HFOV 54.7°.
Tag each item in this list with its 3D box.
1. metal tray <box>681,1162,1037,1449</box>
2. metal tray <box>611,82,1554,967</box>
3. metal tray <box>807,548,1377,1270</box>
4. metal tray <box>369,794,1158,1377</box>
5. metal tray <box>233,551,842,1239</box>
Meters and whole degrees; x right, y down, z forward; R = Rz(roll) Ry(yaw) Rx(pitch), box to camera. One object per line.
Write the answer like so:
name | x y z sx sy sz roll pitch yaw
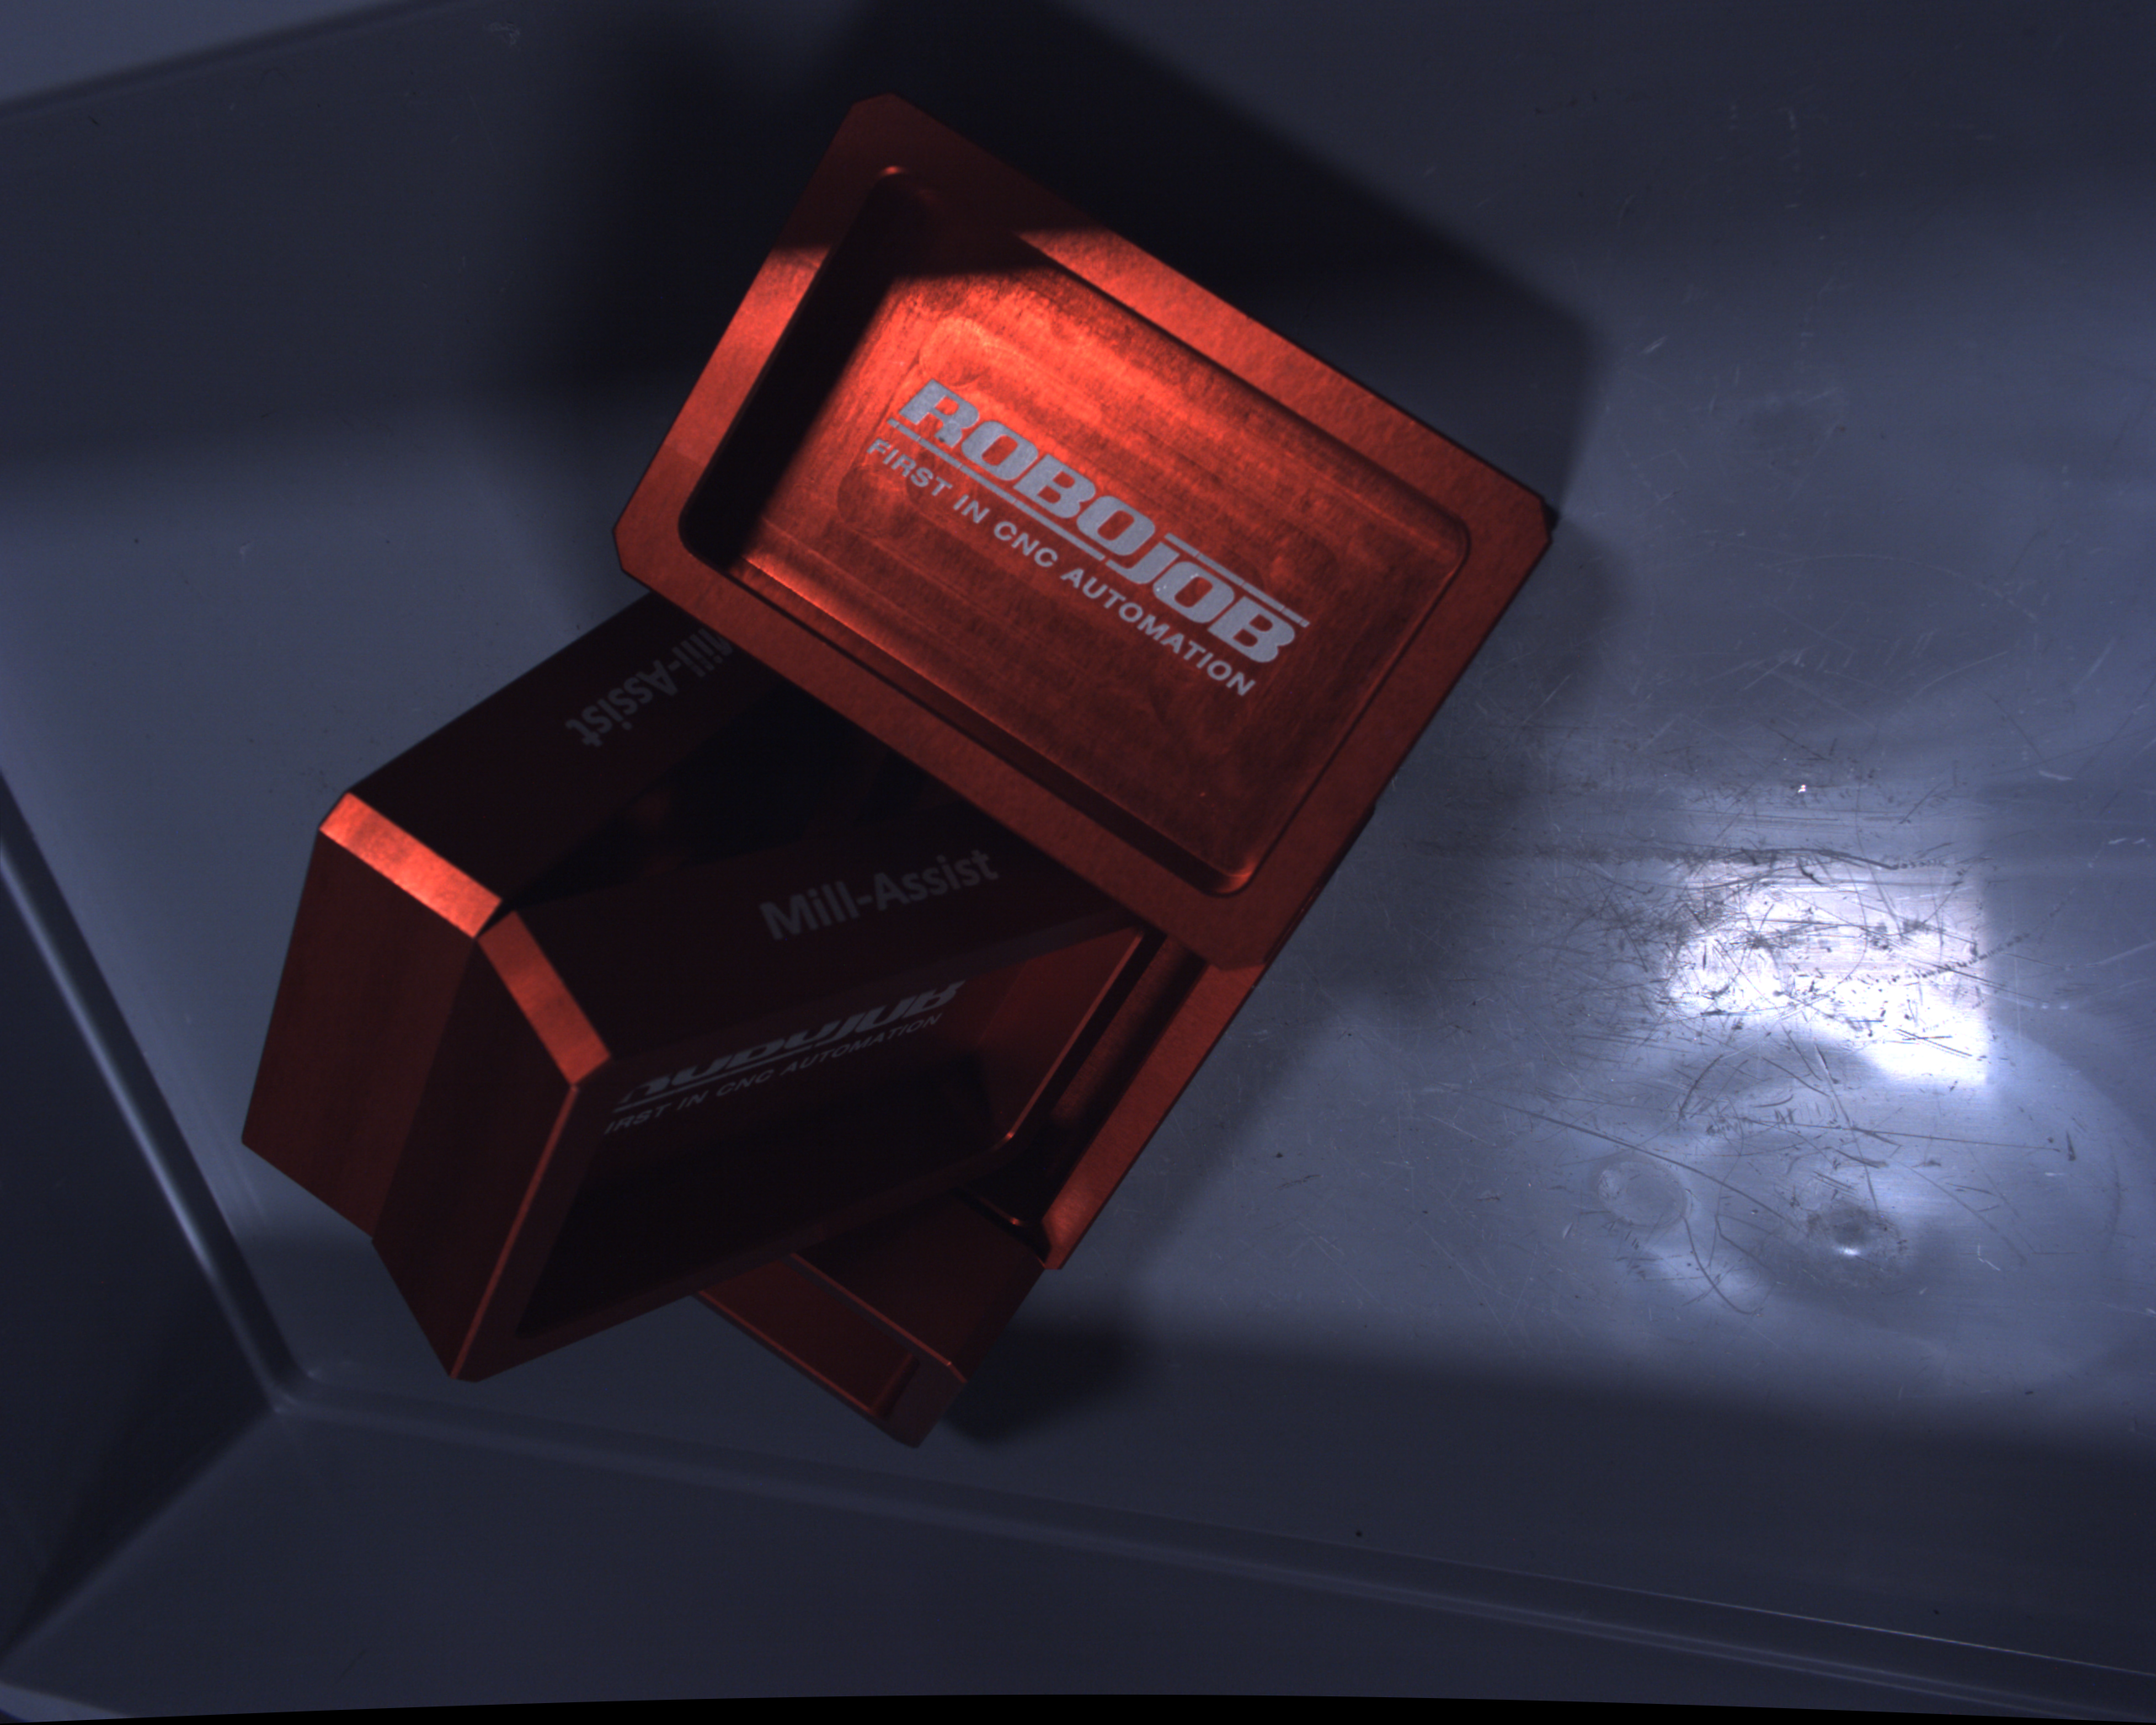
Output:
metal tray | -0.078 0.075 0.466 0.130 0.030 0.090 34 153 5
metal tray | 0.000 -0.055 0.346 0.130 0.030 0.090 34 103 5
metal tray | -0.011 0.014 0.416 0.090 0.030 0.129 34 129 5
metal tray | -0.050 0.034 0.369 0.030 0.131 0.089 50 132 23
metal tray | -0.090 -0.001 0.382 0.030 0.131 0.089 35 129 6
